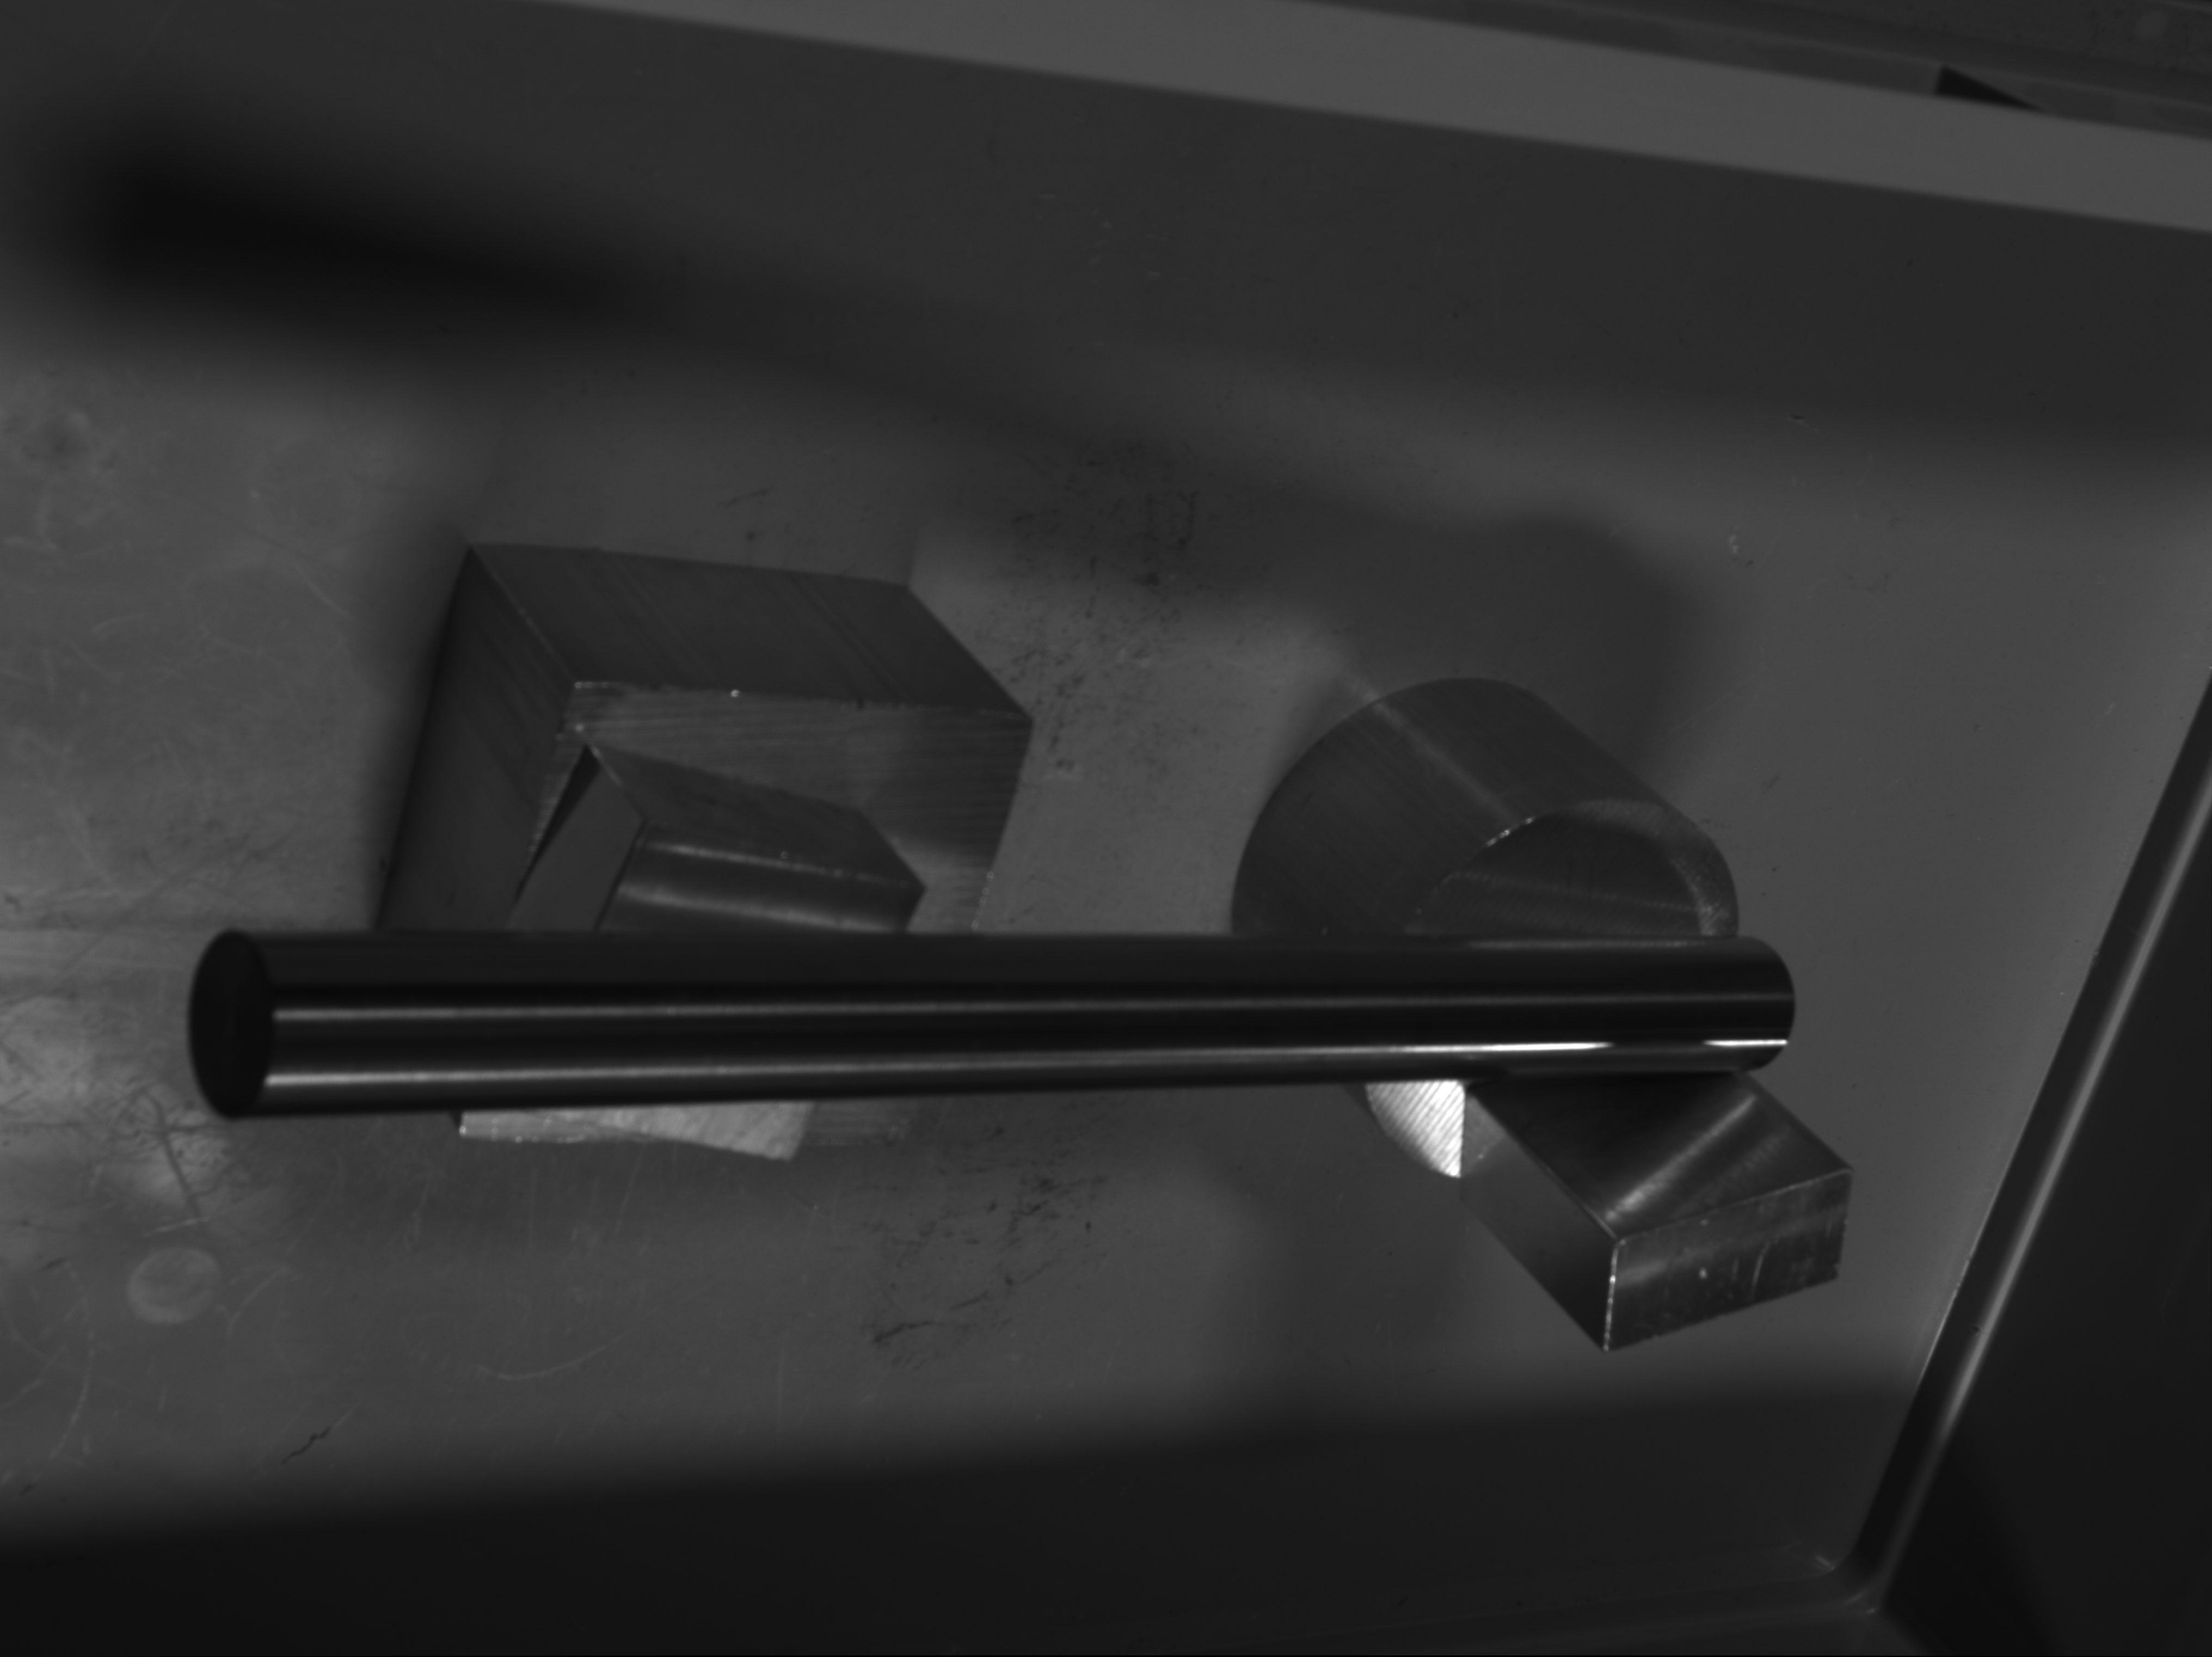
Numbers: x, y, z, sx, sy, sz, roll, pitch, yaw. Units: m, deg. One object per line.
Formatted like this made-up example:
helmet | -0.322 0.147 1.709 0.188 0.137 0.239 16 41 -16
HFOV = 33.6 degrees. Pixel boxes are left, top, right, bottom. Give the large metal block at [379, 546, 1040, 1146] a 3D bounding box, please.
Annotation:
large metal block | -0.067 0.004 0.595 0.080 0.050 0.080 3 117 -32

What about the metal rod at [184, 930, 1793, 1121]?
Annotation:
metal rod | 0.000 0.030 0.576 0.301 0.025 0.025 2 117 -40

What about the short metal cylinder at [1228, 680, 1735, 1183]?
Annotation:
short metal cylinder | 0.070 0.019 0.685 0.080 0.050 0.080 -15 125 -22

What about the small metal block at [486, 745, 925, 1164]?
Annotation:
small metal block | -0.063 0.020 0.559 0.050 0.025 0.050 14 110 -36

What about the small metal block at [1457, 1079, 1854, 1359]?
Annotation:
small metal block | 0.099 0.065 0.664 0.050 0.050 0.025 -14 124 -23
